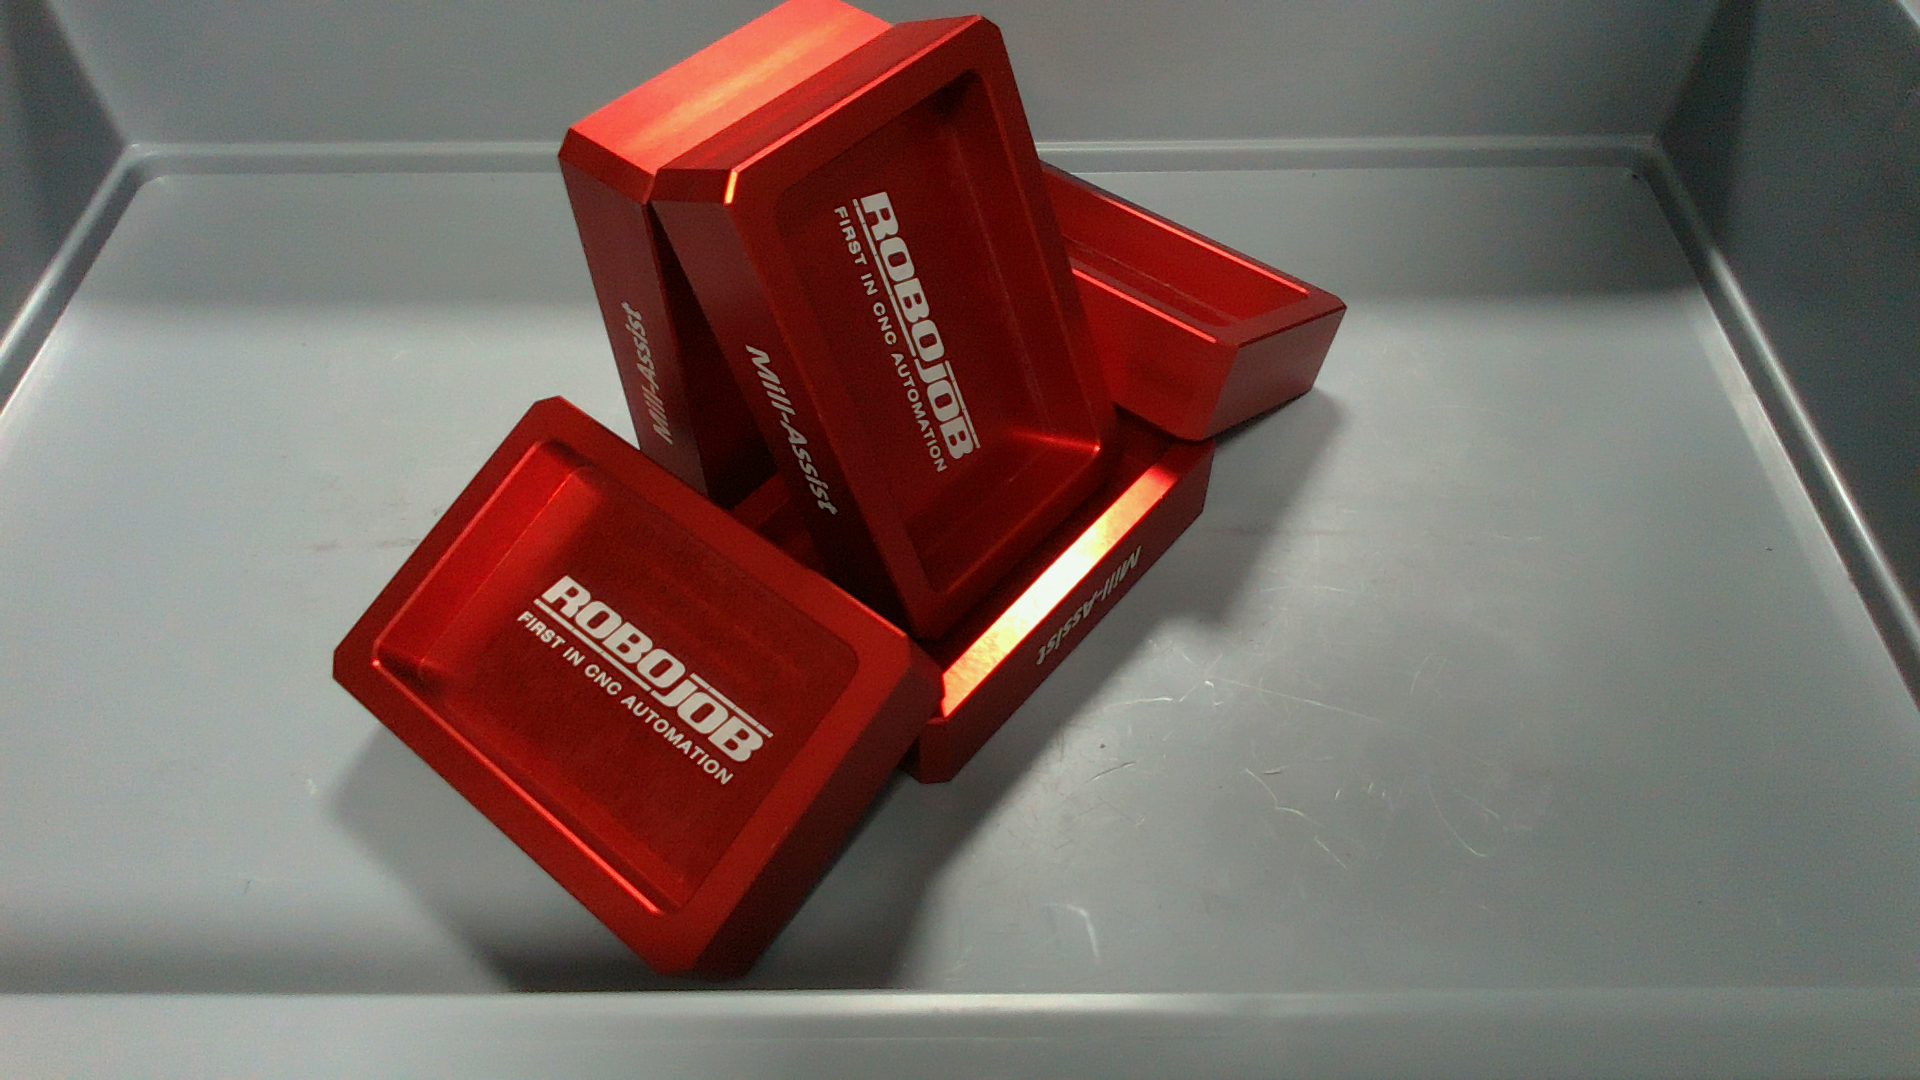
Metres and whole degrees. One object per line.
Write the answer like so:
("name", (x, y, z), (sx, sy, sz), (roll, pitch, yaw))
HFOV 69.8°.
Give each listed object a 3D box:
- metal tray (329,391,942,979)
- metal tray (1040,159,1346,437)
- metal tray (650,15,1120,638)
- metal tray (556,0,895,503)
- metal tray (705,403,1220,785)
("metal tray", (-0.081, 0.032, 0.337), (0.130, 0.030, 0.090), (33, 81, 24))
("metal tray", (0.044, -0.082, 0.434), (0.130, 0.030, 0.090), (32, 31, 24))
("metal tray", (-0.011, -0.052, 0.349), (0.030, 0.130, 0.090), (15, 47, 43))
("metal tray", (-0.053, -0.071, 0.380), (0.030, 0.130, 0.090), (32, 57, 25))
("metal tray", (0.001, -0.004, 0.390), (0.090, 0.030, 0.130), (32, 57, 24))
